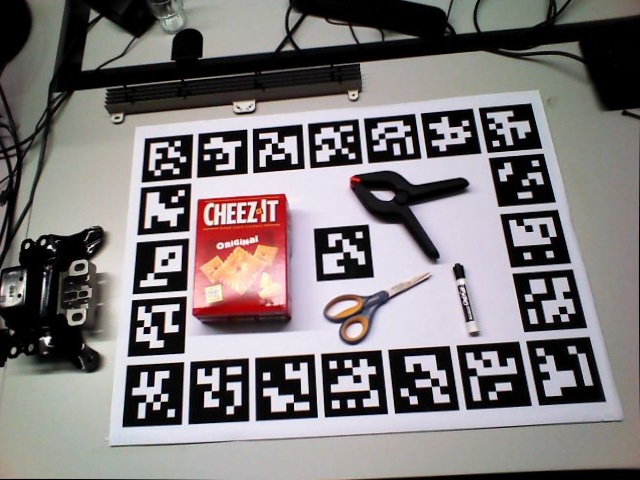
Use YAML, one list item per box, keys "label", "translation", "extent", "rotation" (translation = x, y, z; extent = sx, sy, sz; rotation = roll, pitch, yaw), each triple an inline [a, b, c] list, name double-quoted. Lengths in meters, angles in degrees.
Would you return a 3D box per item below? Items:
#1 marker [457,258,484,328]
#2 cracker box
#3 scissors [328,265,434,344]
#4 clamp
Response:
- label: "marker"
  translation: [0.251, 0.086, 0.866]
  extent: [0.020, 0.020, 0.120]
  rotation: [-8, 67, 2]
- label: "cracker box"
  translation: [-0.130, 0.028, 0.900]
  extent: [0.165, 0.072, 0.212]
  rotation: [-4, 68, 4]
- label: "scissors"
  translation: [0.109, 0.094, 0.878]
  extent: [0.202, 0.016, 0.087]
  rotation: [-31, 67, -10]
- label: "clamp"
  translation: [0.149, -0.081, 0.950]
  extent: [0.203, 0.037, 0.164]
  rotation: [24, 71, 14]
